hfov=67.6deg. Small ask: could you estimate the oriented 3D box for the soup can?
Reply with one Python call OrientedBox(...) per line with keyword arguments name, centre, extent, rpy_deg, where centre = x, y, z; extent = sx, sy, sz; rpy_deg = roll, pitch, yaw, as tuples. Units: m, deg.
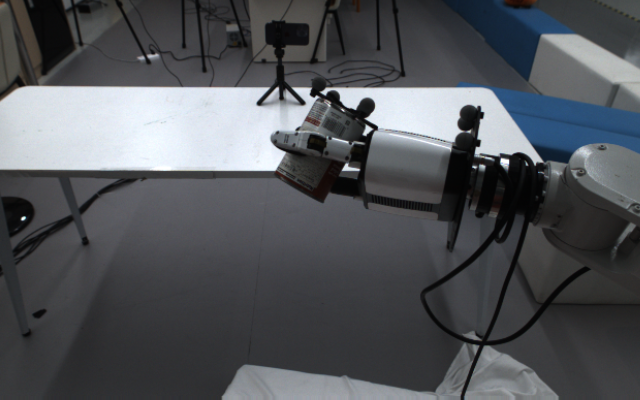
OrientedBox(name="soup can", centre=(0.001, -0.057, 0.559), extent=(0.067, 0.101, 0.067), rpy_deg=(30, 2, -1))
